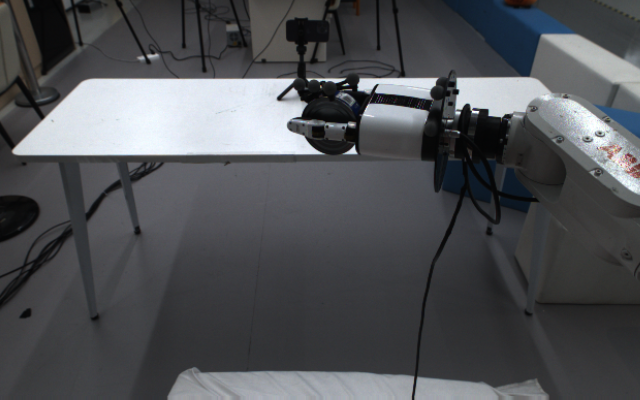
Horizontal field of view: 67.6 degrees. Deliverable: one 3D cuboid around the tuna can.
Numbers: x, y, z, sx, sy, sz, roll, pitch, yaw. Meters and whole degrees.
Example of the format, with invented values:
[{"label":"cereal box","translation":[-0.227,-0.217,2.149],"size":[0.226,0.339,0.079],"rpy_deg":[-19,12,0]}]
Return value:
[{"label":"tuna can","translation":[0.019,-0.109,0.681],"size":[0.085,0.085,0.034],"rpy_deg":[14,34,17]}]
